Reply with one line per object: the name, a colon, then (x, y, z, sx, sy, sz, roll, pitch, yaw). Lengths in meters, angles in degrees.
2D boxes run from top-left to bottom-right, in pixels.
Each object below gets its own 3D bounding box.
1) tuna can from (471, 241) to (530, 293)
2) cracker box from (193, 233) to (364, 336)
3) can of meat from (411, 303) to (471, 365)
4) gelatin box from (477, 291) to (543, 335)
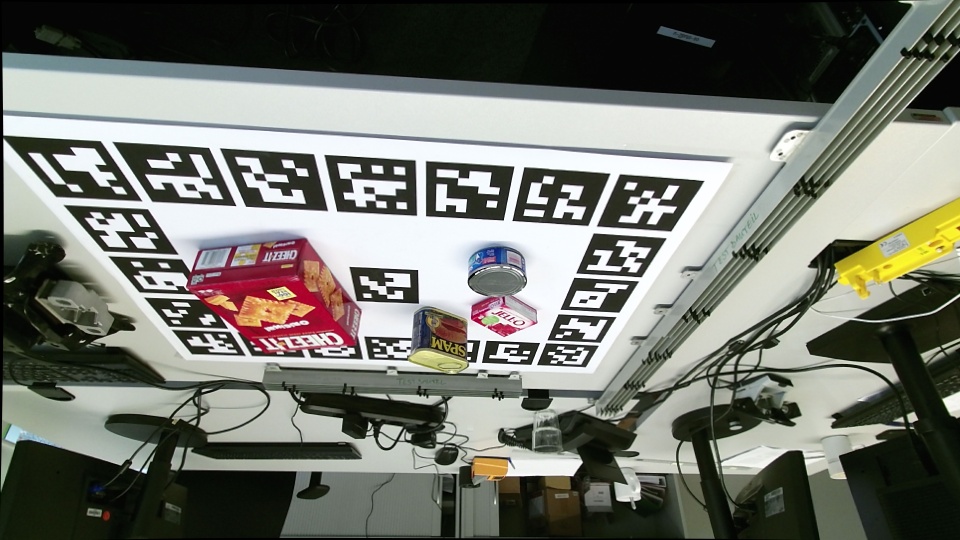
tuna can: (0.029, -0.003, 0.786, 0.086, 0.033, 0.086, -1, 143, -1)
cracker box: (-0.299, 0.036, 0.828, 0.165, 0.071, 0.214, -5, 147, 11)
can of meat: (-0.066, 0.111, 0.929, 0.102, 0.083, 0.058, 21, 141, -29)
gelatin box: (0.051, 0.075, 0.909, 0.073, 0.030, 0.090, -25, 136, 37)
